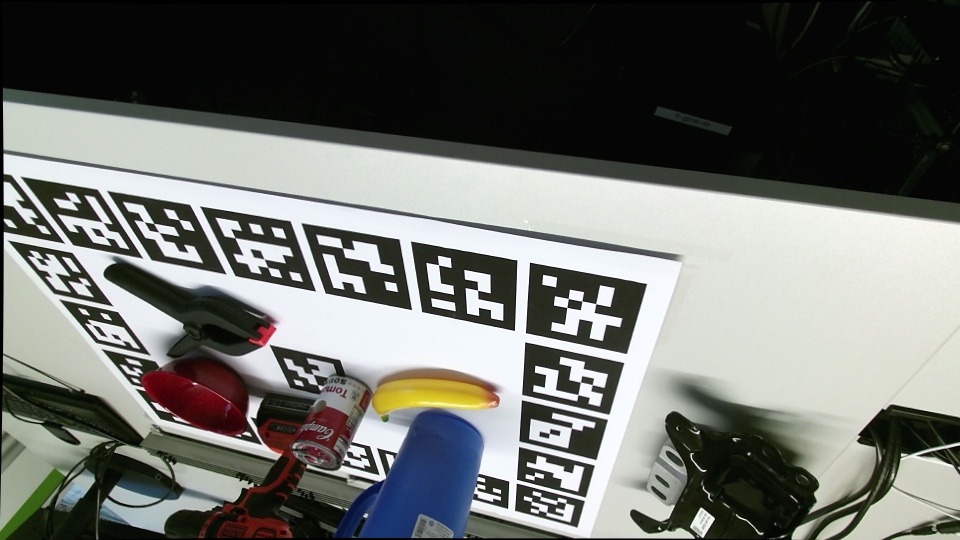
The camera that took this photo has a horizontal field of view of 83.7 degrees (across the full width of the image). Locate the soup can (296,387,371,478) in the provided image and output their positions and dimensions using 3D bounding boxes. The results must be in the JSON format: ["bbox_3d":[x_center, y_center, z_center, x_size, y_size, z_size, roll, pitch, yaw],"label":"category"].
[{"bbox_3d":[-0.190,0.213,0.696,0.068,0.101,0.068,11,142,9],"label":"soup can"}]

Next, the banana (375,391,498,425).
[{"bbox_3d":[-0.061,0.177,0.664,0.198,0.038,0.074,-9,136,28],"label":"banana"}]

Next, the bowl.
[{"bbox_3d":[-0.406,0.186,0.777,0.162,0.055,0.162,9,132,10],"label":"bowl"}]

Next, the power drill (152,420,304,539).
[{"bbox_3d":[-0.322,0.303,0.738,0.185,0.186,0.057,7,133,14],"label":"power drill"}]

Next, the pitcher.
[{"bbox_3d":[-0.092,0.326,0.667,0.189,0.241,0.133,-9,131,26],"label":"pitcher"}]

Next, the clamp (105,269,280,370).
[{"bbox_3d":[-0.345,0.080,0.661,0.203,0.036,0.165,9,130,12],"label":"clamp"}]
